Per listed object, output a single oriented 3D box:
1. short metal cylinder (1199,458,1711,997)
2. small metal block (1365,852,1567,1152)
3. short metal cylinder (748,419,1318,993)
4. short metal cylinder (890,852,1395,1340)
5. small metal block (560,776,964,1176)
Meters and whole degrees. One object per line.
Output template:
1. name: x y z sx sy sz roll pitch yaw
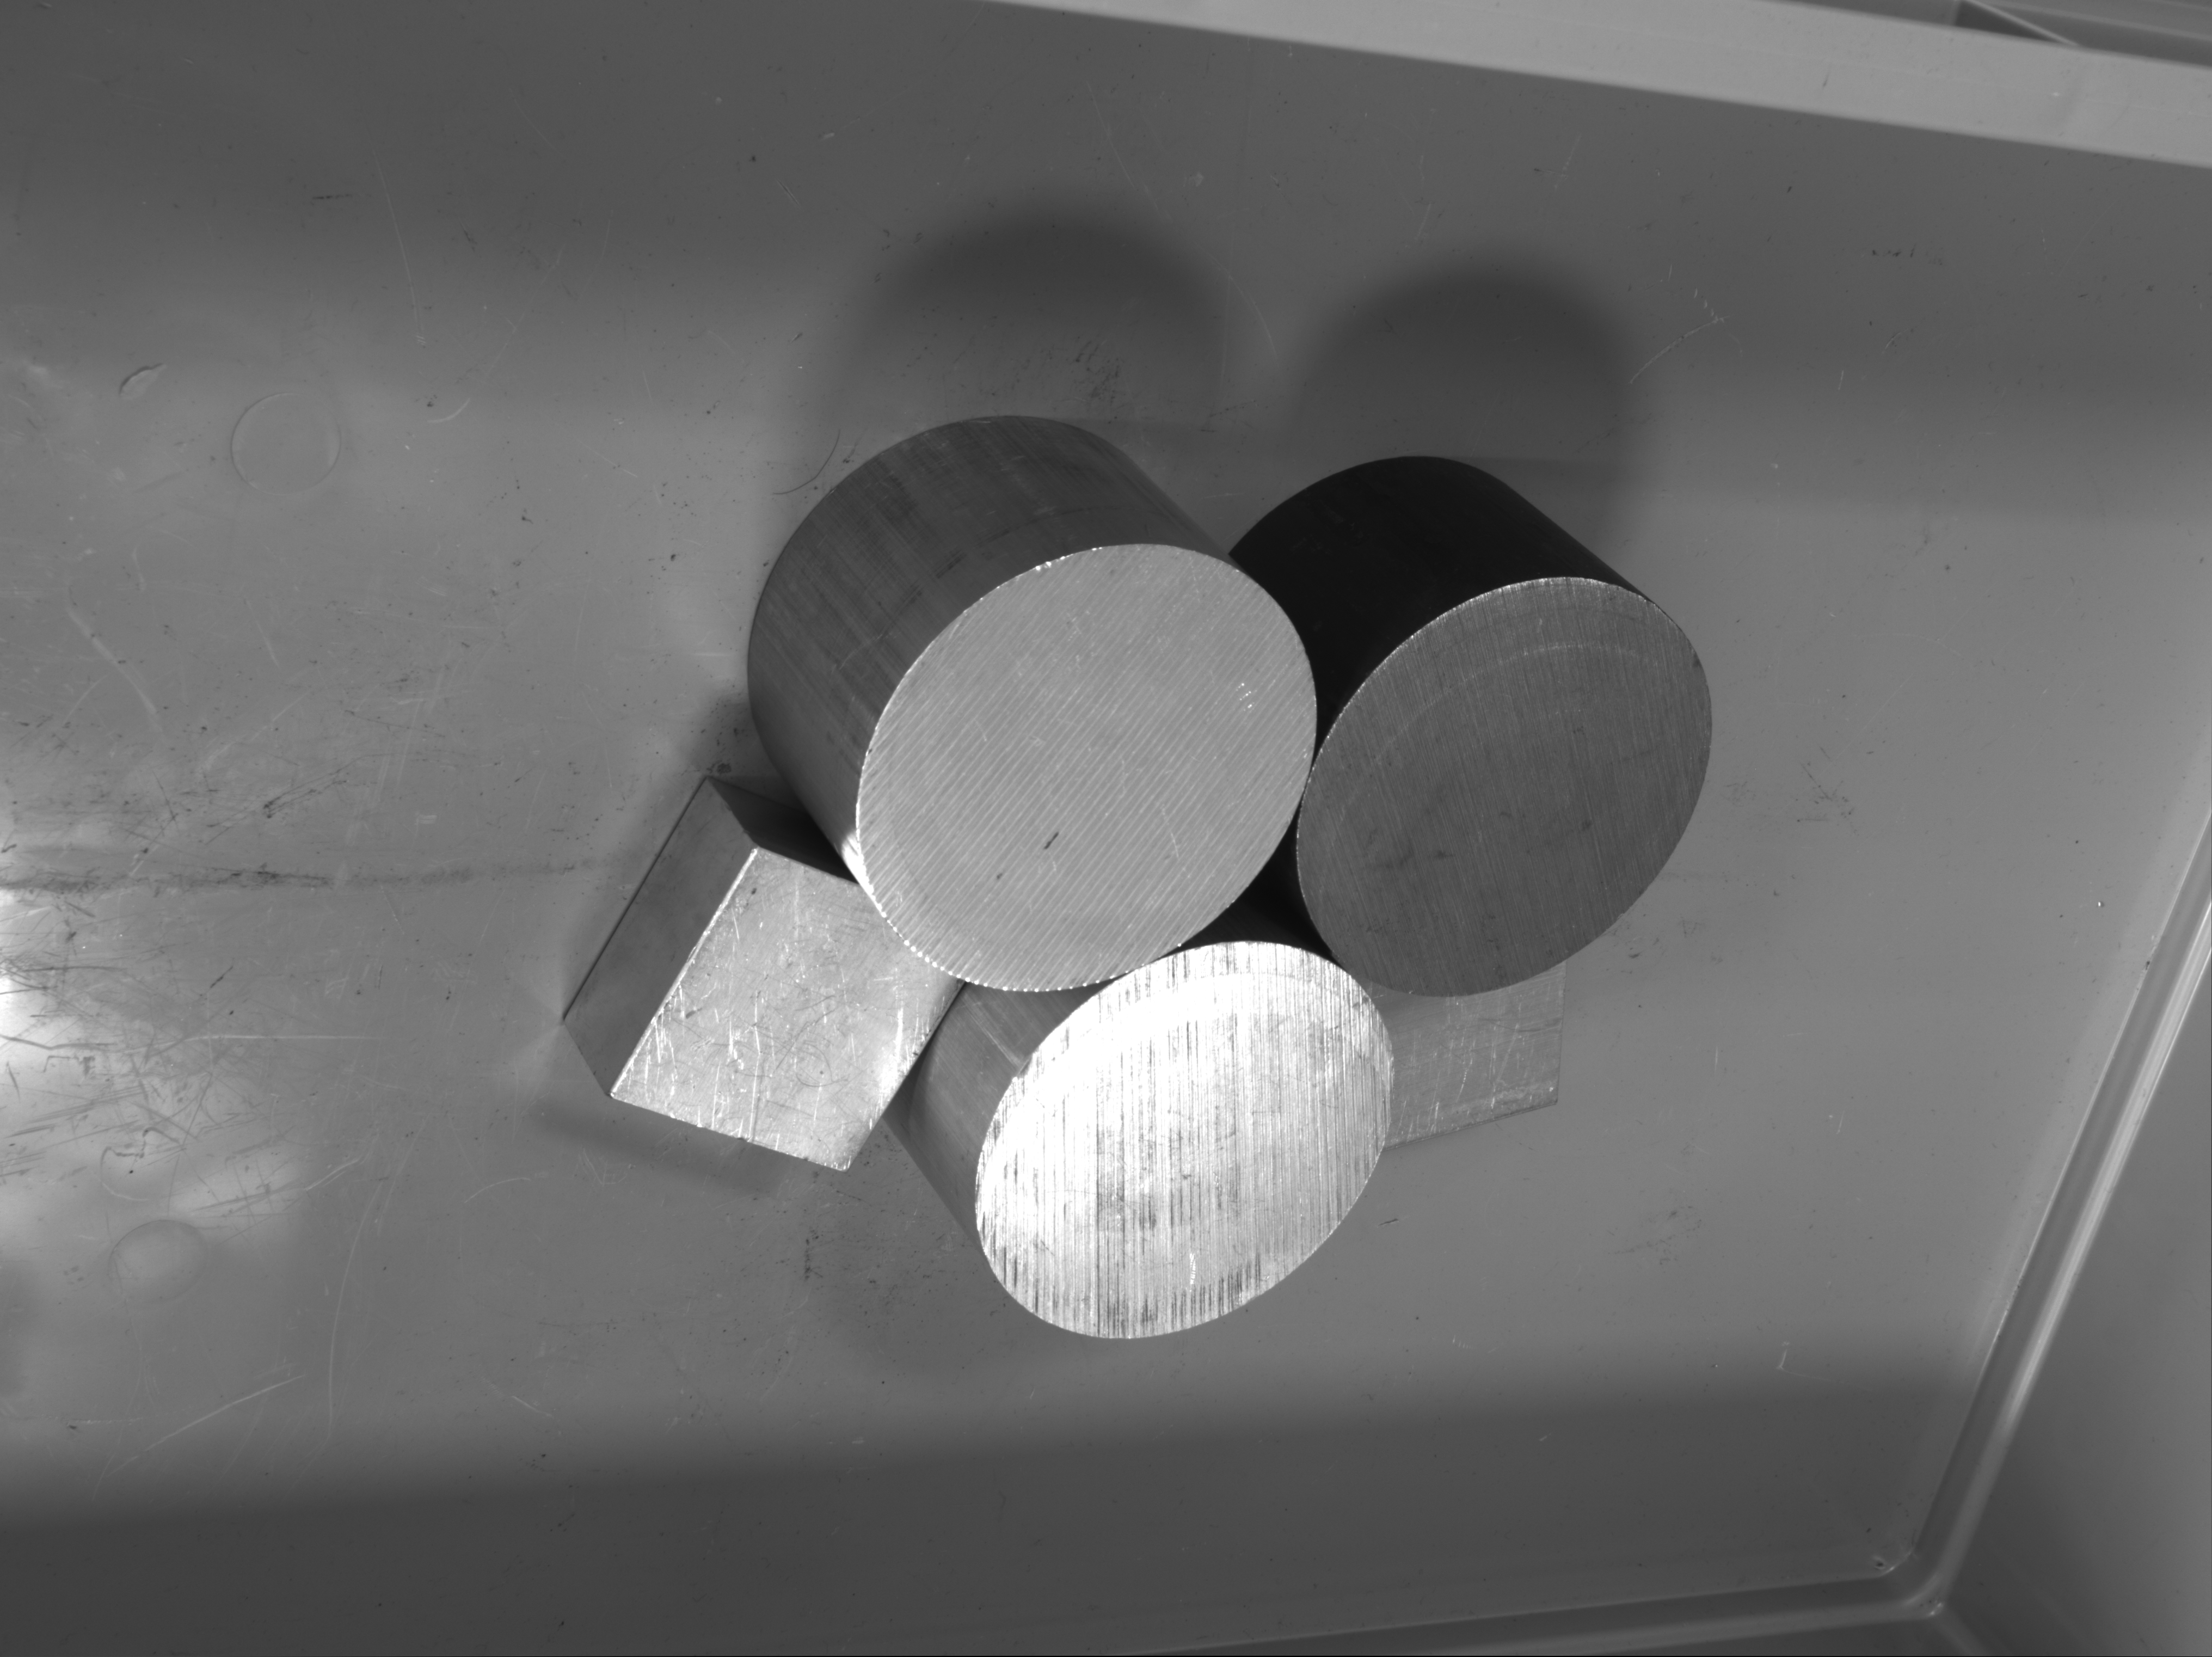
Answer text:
1. short metal cylinder: 0.058 -0.018 0.640 0.080 0.050 0.080 -13 124 -21
2. small metal block: 0.058 0.031 0.686 0.050 0.025 0.050 -13 124 -21
3. short metal cylinder: -0.012 -0.020 0.601 0.080 0.050 0.080 -13 124 -21
4. short metal cylinder: 0.004 0.043 0.648 0.080 0.050 0.080 -13 124 -21
5. small metal block: -0.056 0.026 0.622 0.050 0.025 0.050 23 106 -36
